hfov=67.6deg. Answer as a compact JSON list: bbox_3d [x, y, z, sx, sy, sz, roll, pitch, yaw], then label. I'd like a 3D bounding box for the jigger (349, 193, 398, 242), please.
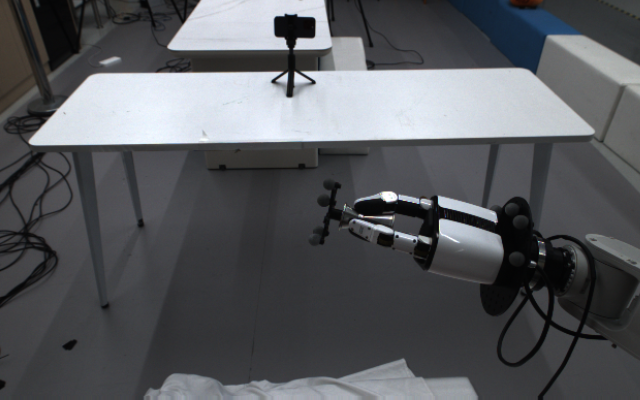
[{"bbox_3d":[0.068,0.027,0.646,0.071,0.043,0.043,14,36,4],"label":"jigger"}]
